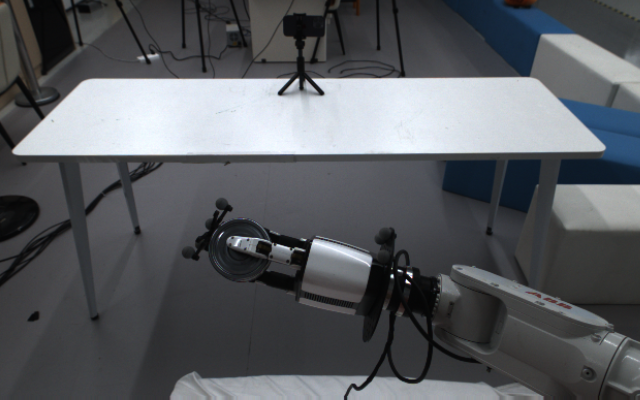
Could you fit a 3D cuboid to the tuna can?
[{"bbox_3d":[-0.104,0.072,0.657,0.085,0.034,0.085,1,77,-5],"label":"tuna can"}]
